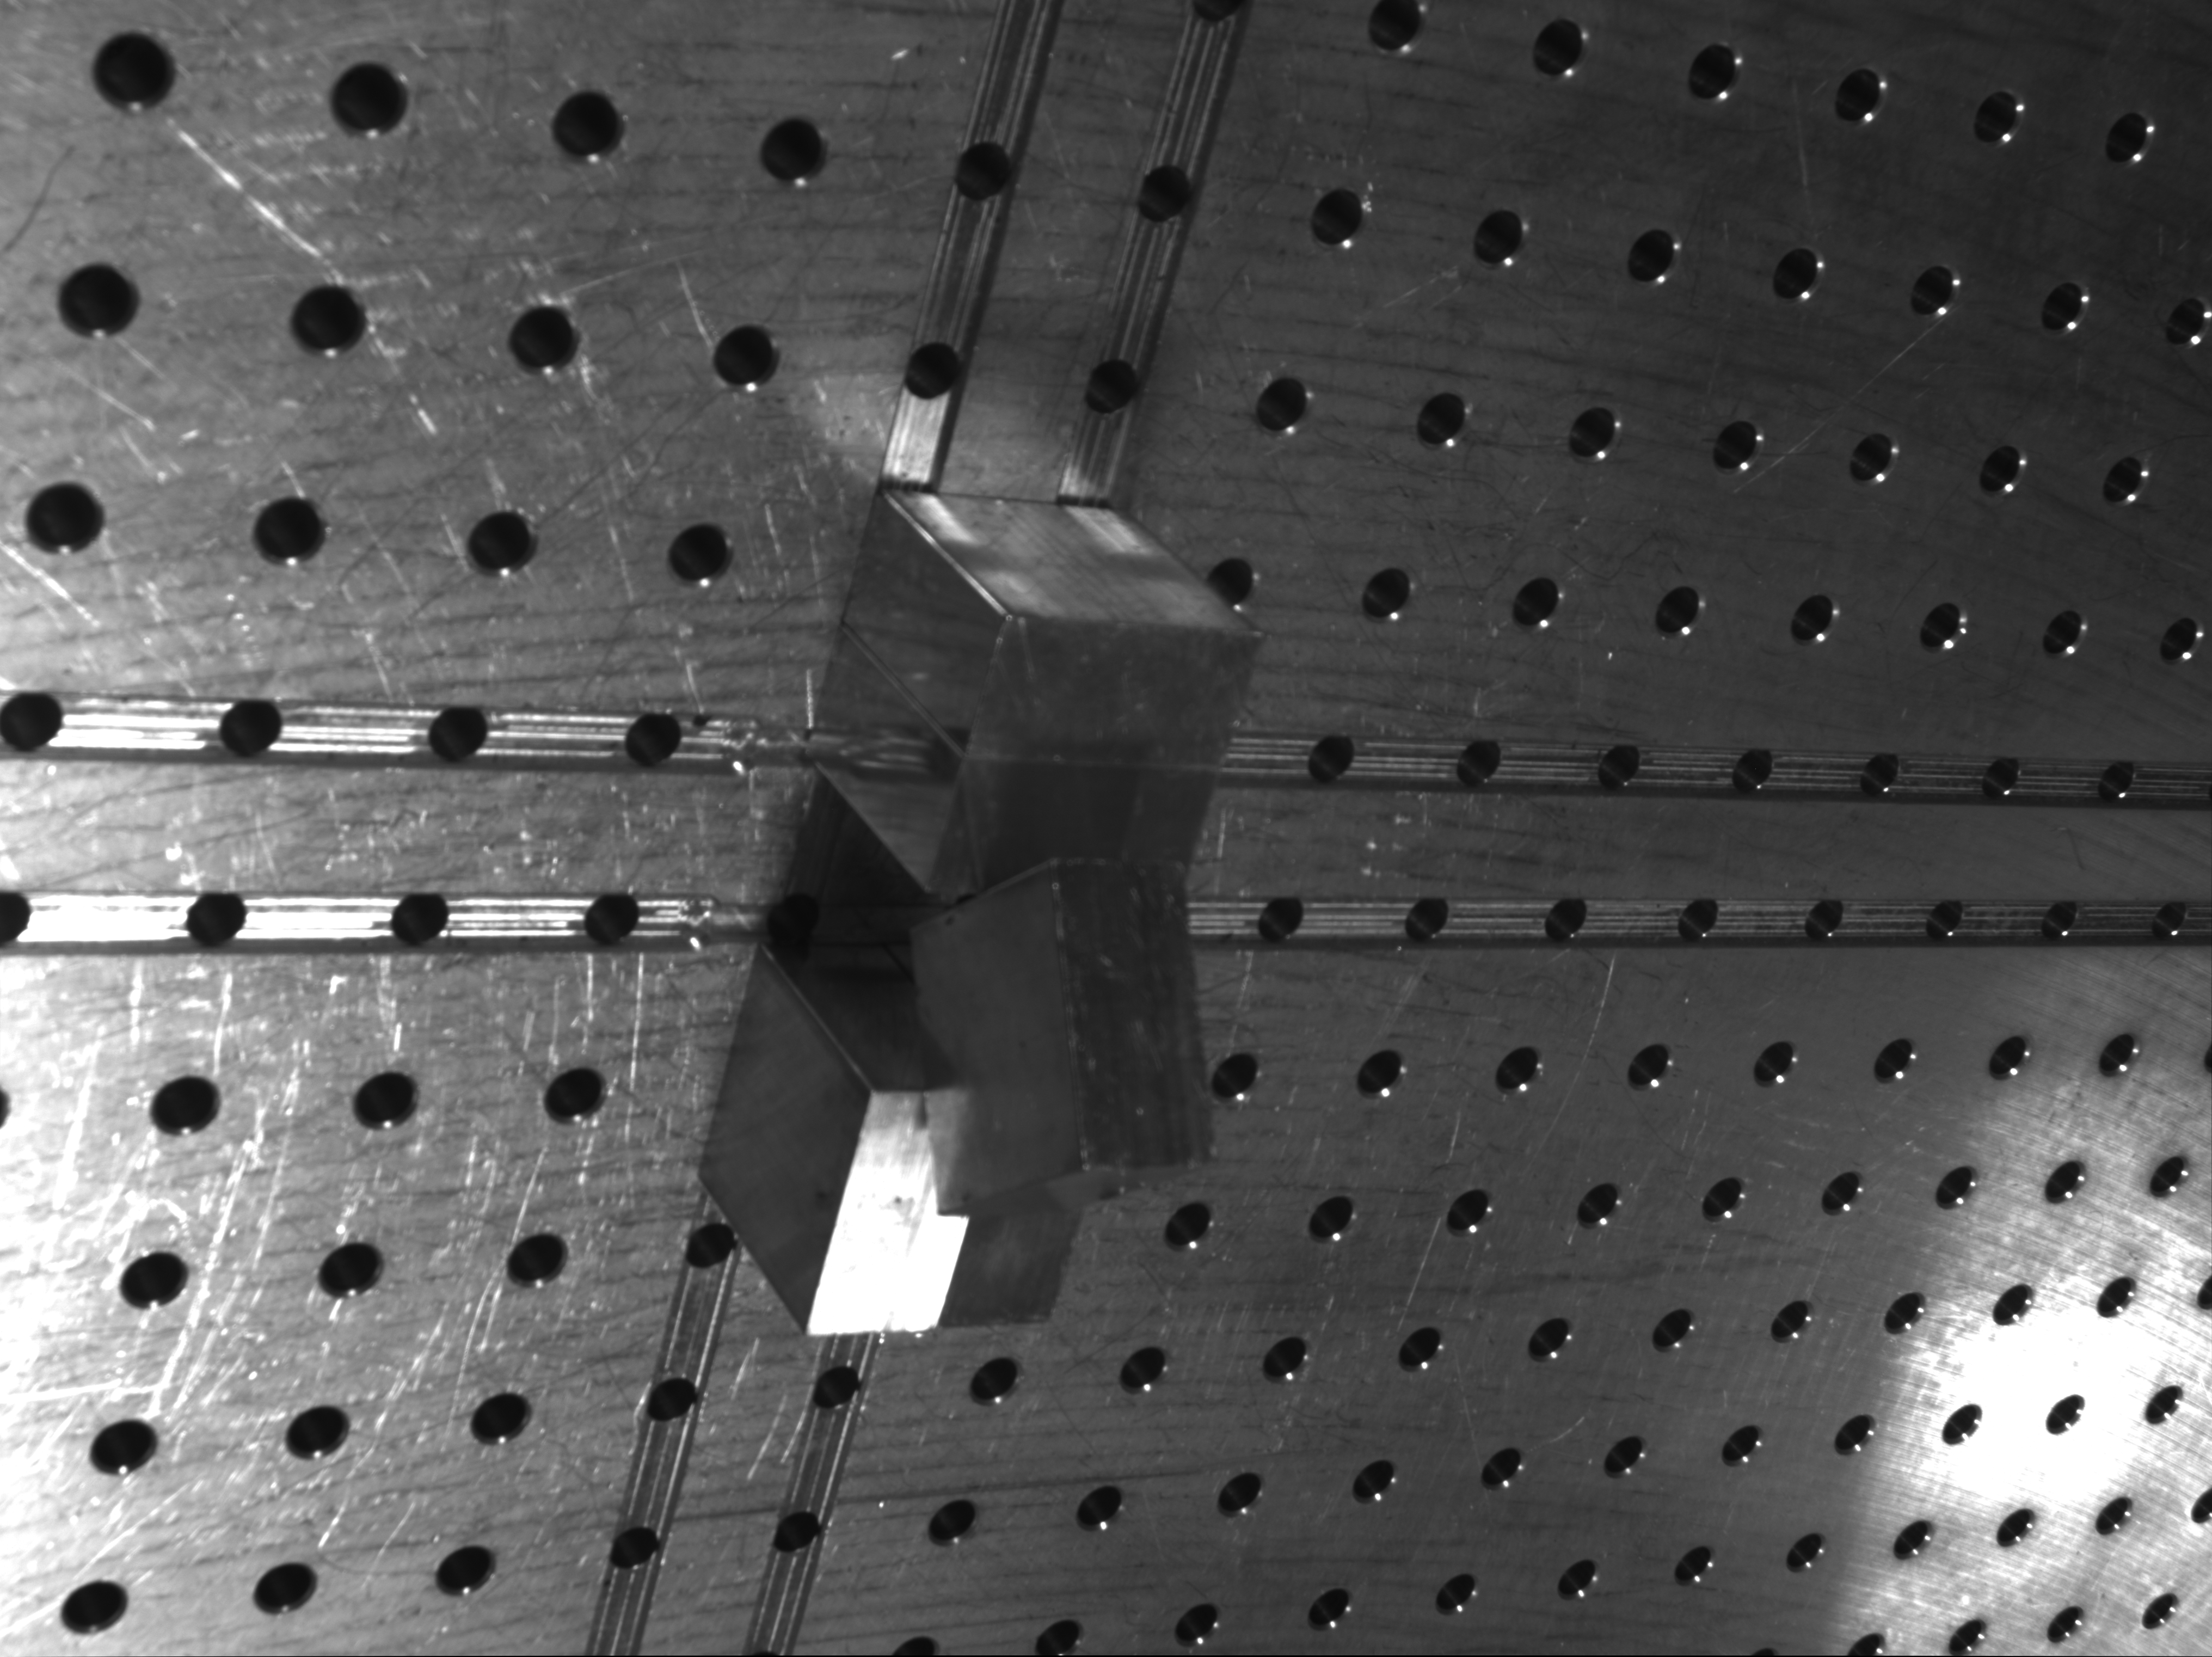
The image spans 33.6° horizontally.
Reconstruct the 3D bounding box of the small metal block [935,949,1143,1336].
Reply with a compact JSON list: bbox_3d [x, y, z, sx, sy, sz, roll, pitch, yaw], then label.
[{"bbox_3d":[-0.015,0.056,0.662,0.025,0.050,0.050,1,117,-31],"label":"small metal block"}]

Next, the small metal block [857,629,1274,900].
[{"bbox_3d":[-0.008,-0.011,0.626,0.050,0.050,0.025,2,117,-31],"label":"small metal block"}]

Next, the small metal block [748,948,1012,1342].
[{"bbox_3d":[-0.037,0.055,0.650,0.025,0.050,0.050,1,117,-31],"label":"small metal block"}]

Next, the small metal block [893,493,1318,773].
[{"bbox_3d":[-0.001,-0.033,0.616,0.050,0.050,0.025,2,117,-31],"label":"small metal block"}]

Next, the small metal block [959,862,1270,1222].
[{"bbox_3d":[0.001,0.036,0.606,0.025,0.050,0.050,1,75,-30],"label":"small metal block"}]
